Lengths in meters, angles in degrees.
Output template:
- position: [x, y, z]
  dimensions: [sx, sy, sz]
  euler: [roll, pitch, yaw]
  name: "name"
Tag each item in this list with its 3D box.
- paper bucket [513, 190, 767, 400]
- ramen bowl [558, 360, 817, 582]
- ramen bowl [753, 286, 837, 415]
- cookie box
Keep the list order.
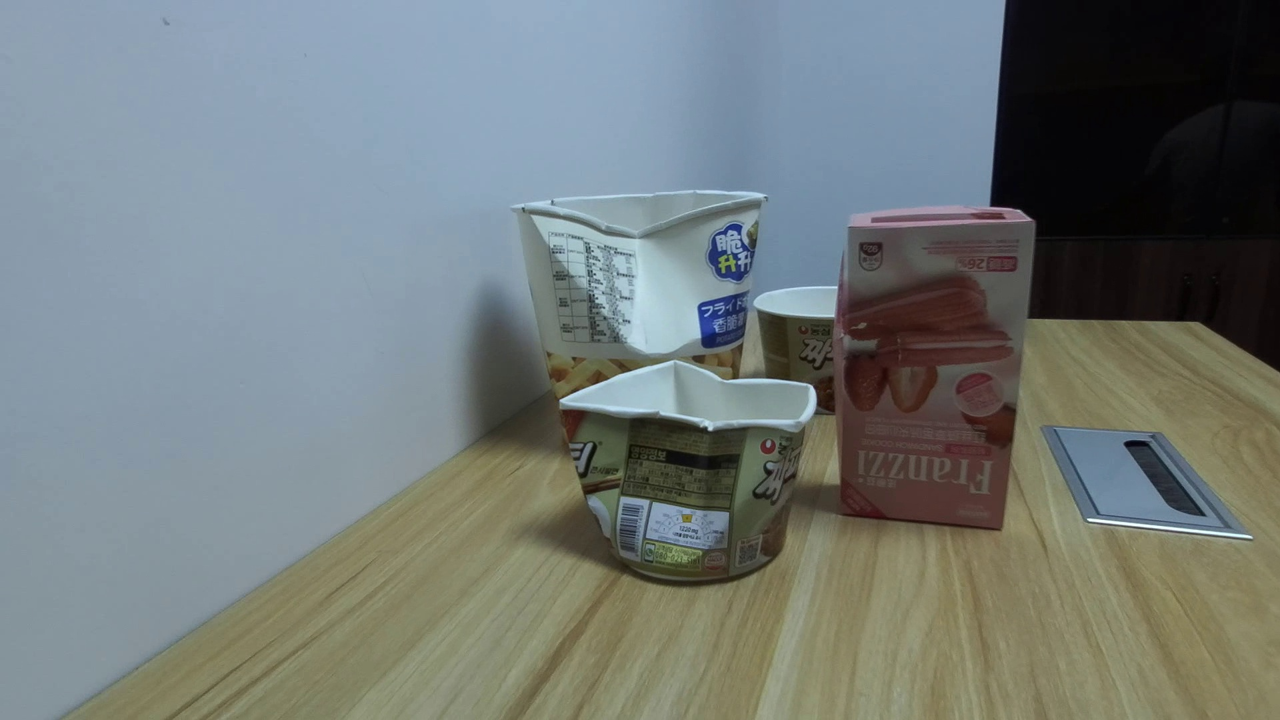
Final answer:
- position: [-0.007, -0.032, 0.576]
  dimensions: [0.163, 0.202, 0.168]
  euler: [-13, 16, -28]
  name: "paper bucket"
- position: [0.036, 0.063, 0.415]
  dimensions: [0.127, 0.093, 0.112]
  euler: [12, 22, 40]
  name: "ramen bowl"
- position: [0.179, -0.013, 0.687]
  dimensions: [0.140, 0.095, 0.140]
  euler: [-4, 17, 2]
  name: "ramen bowl"
- position: [0.169, 0.005, 0.427]
  dimensions: [0.105, 0.187, 0.049]
  euler: [2, 18, 17]
  name: "cookie box"
